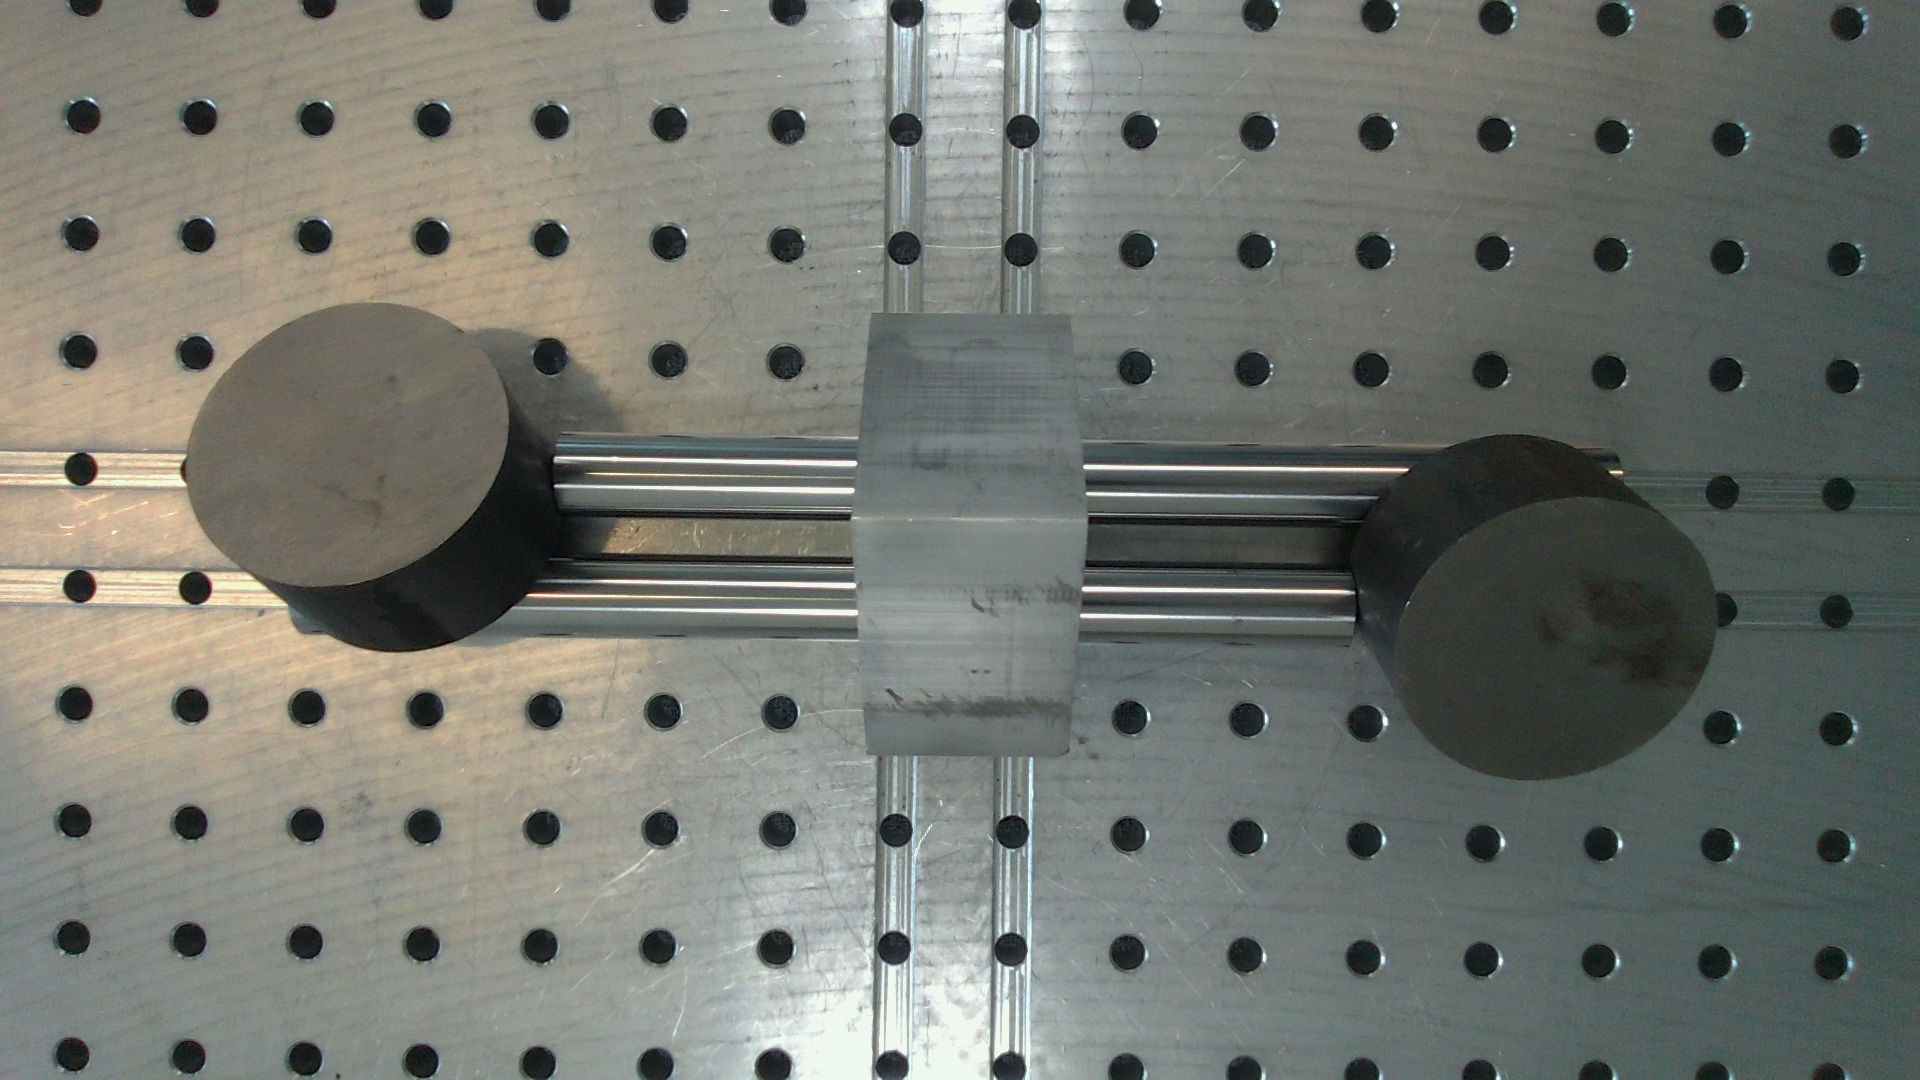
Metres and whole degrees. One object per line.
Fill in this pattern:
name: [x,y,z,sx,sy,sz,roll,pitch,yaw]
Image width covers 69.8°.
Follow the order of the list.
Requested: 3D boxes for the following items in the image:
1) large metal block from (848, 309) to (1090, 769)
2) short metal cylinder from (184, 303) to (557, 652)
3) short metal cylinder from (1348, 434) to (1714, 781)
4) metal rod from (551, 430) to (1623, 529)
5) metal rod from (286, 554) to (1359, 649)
large metal block: [0.002,-0.001,0.340,0.050,0.080,0.080,1,132,0]
short metal cylinder: [-0.155,-0.016,0.370,0.080,0.050,0.080,0,67,0]
short metal cylinder: [0.151,0.017,0.372,0.080,0.050,0.080,0,112,0]
metal rod: [0.036,-0.017,0.397,0.300,0.025,0.025,1,90,0]
metal rod: [-0.038,0.017,0.397,0.300,0.025,0.025,1,90,0]
